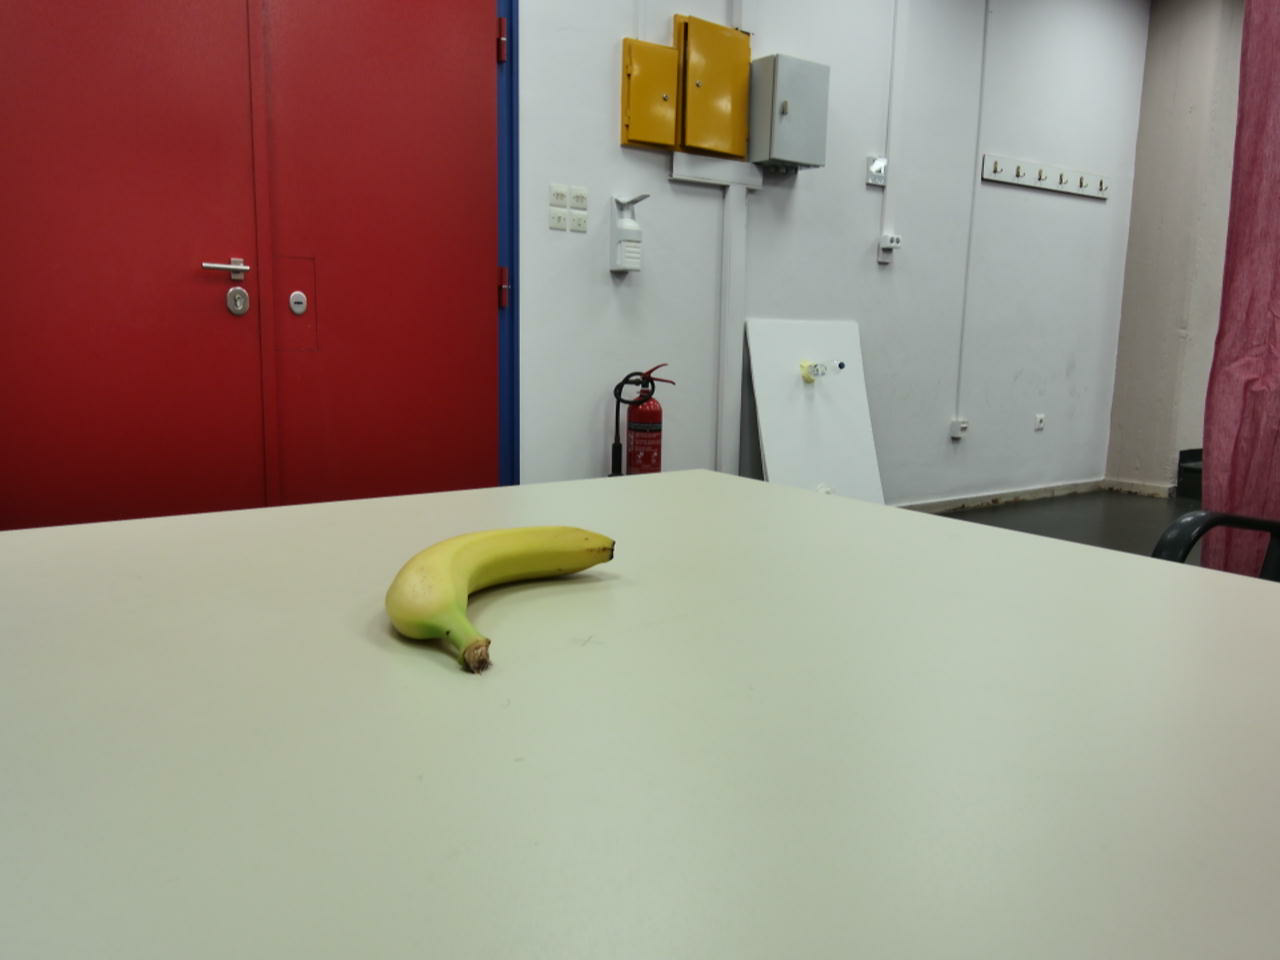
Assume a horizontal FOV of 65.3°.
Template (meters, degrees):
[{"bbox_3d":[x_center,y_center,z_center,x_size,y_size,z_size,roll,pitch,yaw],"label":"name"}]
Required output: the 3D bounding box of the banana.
[{"bbox_3d":[-0.087,0.056,0.565,0.094,0.041,0.196,3,7,18],"label":"banana"}]
